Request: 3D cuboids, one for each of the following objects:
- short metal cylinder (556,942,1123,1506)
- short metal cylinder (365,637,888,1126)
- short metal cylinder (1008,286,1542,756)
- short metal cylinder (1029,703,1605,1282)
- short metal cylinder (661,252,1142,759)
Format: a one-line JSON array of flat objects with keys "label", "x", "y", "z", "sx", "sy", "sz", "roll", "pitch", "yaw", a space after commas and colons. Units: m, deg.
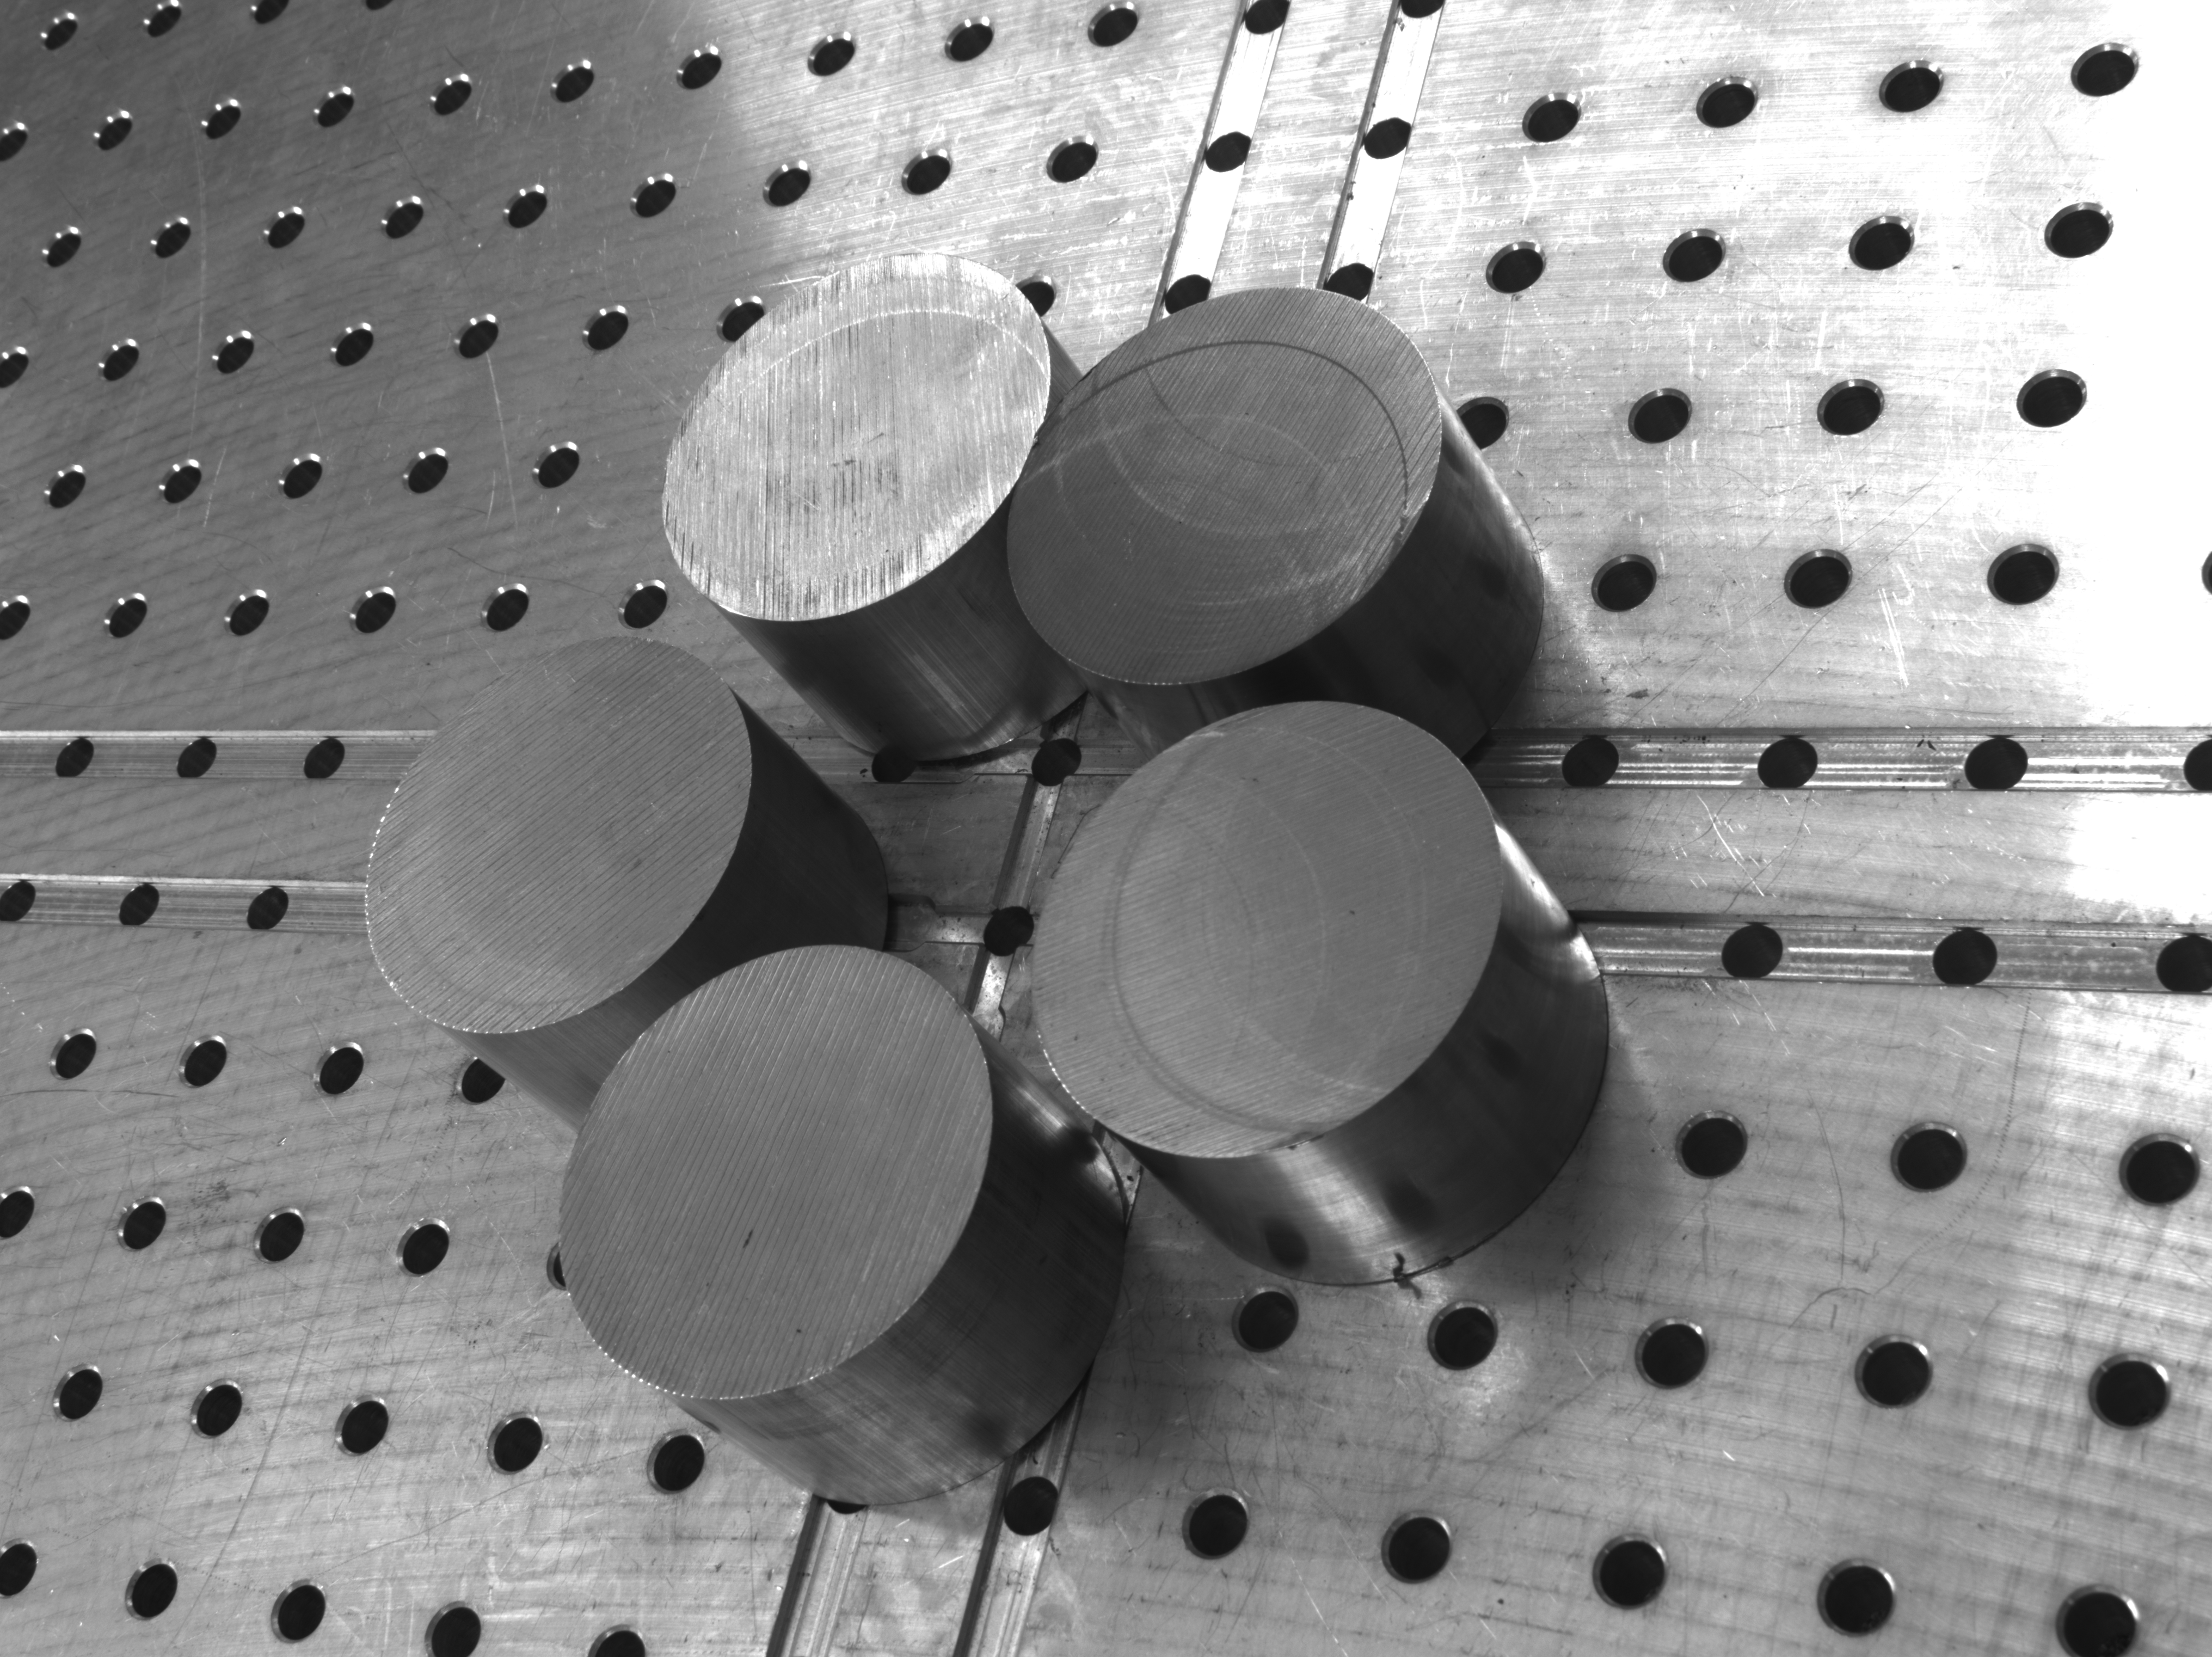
[{"label": "short metal cylinder", "x": -0.044, "y": 0.066, "z": 0.614, "sx": 0.080, "sy": 0.050, "sz": 0.080, "roll": -14, "pitch": 55, "yaw": 21}, {"label": "short metal cylinder", "x": -0.087, "y": 0.012, "z": 0.672, "sx": 0.080, "sy": 0.050, "sz": 0.080, "roll": -13, "pitch": 56, "yaw": 21}, {"label": "short metal cylinder", "x": 0.030, "y": -0.047, "z": 0.644, "sx": 0.080, "sy": 0.050, "sz": 0.080, "roll": -14, "pitch": 56, "yaw": 21}, {"label": "short metal cylinder", "x": 0.034, "y": 0.027, "z": 0.596, "sx": 0.080, "sy": 0.050, "sz": 0.080, "roll": -13, "pitch": 57, "yaw": 21}, {"label": "short metal cylinder", "x": -0.036, "y": -0.060, "z": 0.688, "sx": 0.080, "sy": 0.050, "sz": 0.080, "roll": -13, "pitch": 56, "yaw": 21}]
